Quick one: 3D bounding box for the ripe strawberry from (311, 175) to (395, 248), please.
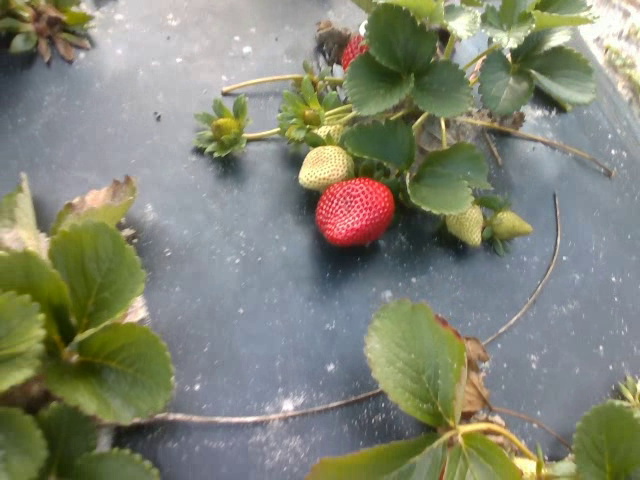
[{"bbox_3d":[0.015,-0.013,0.398,0.051,0.048,0.055,-7,19,28],"label":"ripe strawberry"}]
